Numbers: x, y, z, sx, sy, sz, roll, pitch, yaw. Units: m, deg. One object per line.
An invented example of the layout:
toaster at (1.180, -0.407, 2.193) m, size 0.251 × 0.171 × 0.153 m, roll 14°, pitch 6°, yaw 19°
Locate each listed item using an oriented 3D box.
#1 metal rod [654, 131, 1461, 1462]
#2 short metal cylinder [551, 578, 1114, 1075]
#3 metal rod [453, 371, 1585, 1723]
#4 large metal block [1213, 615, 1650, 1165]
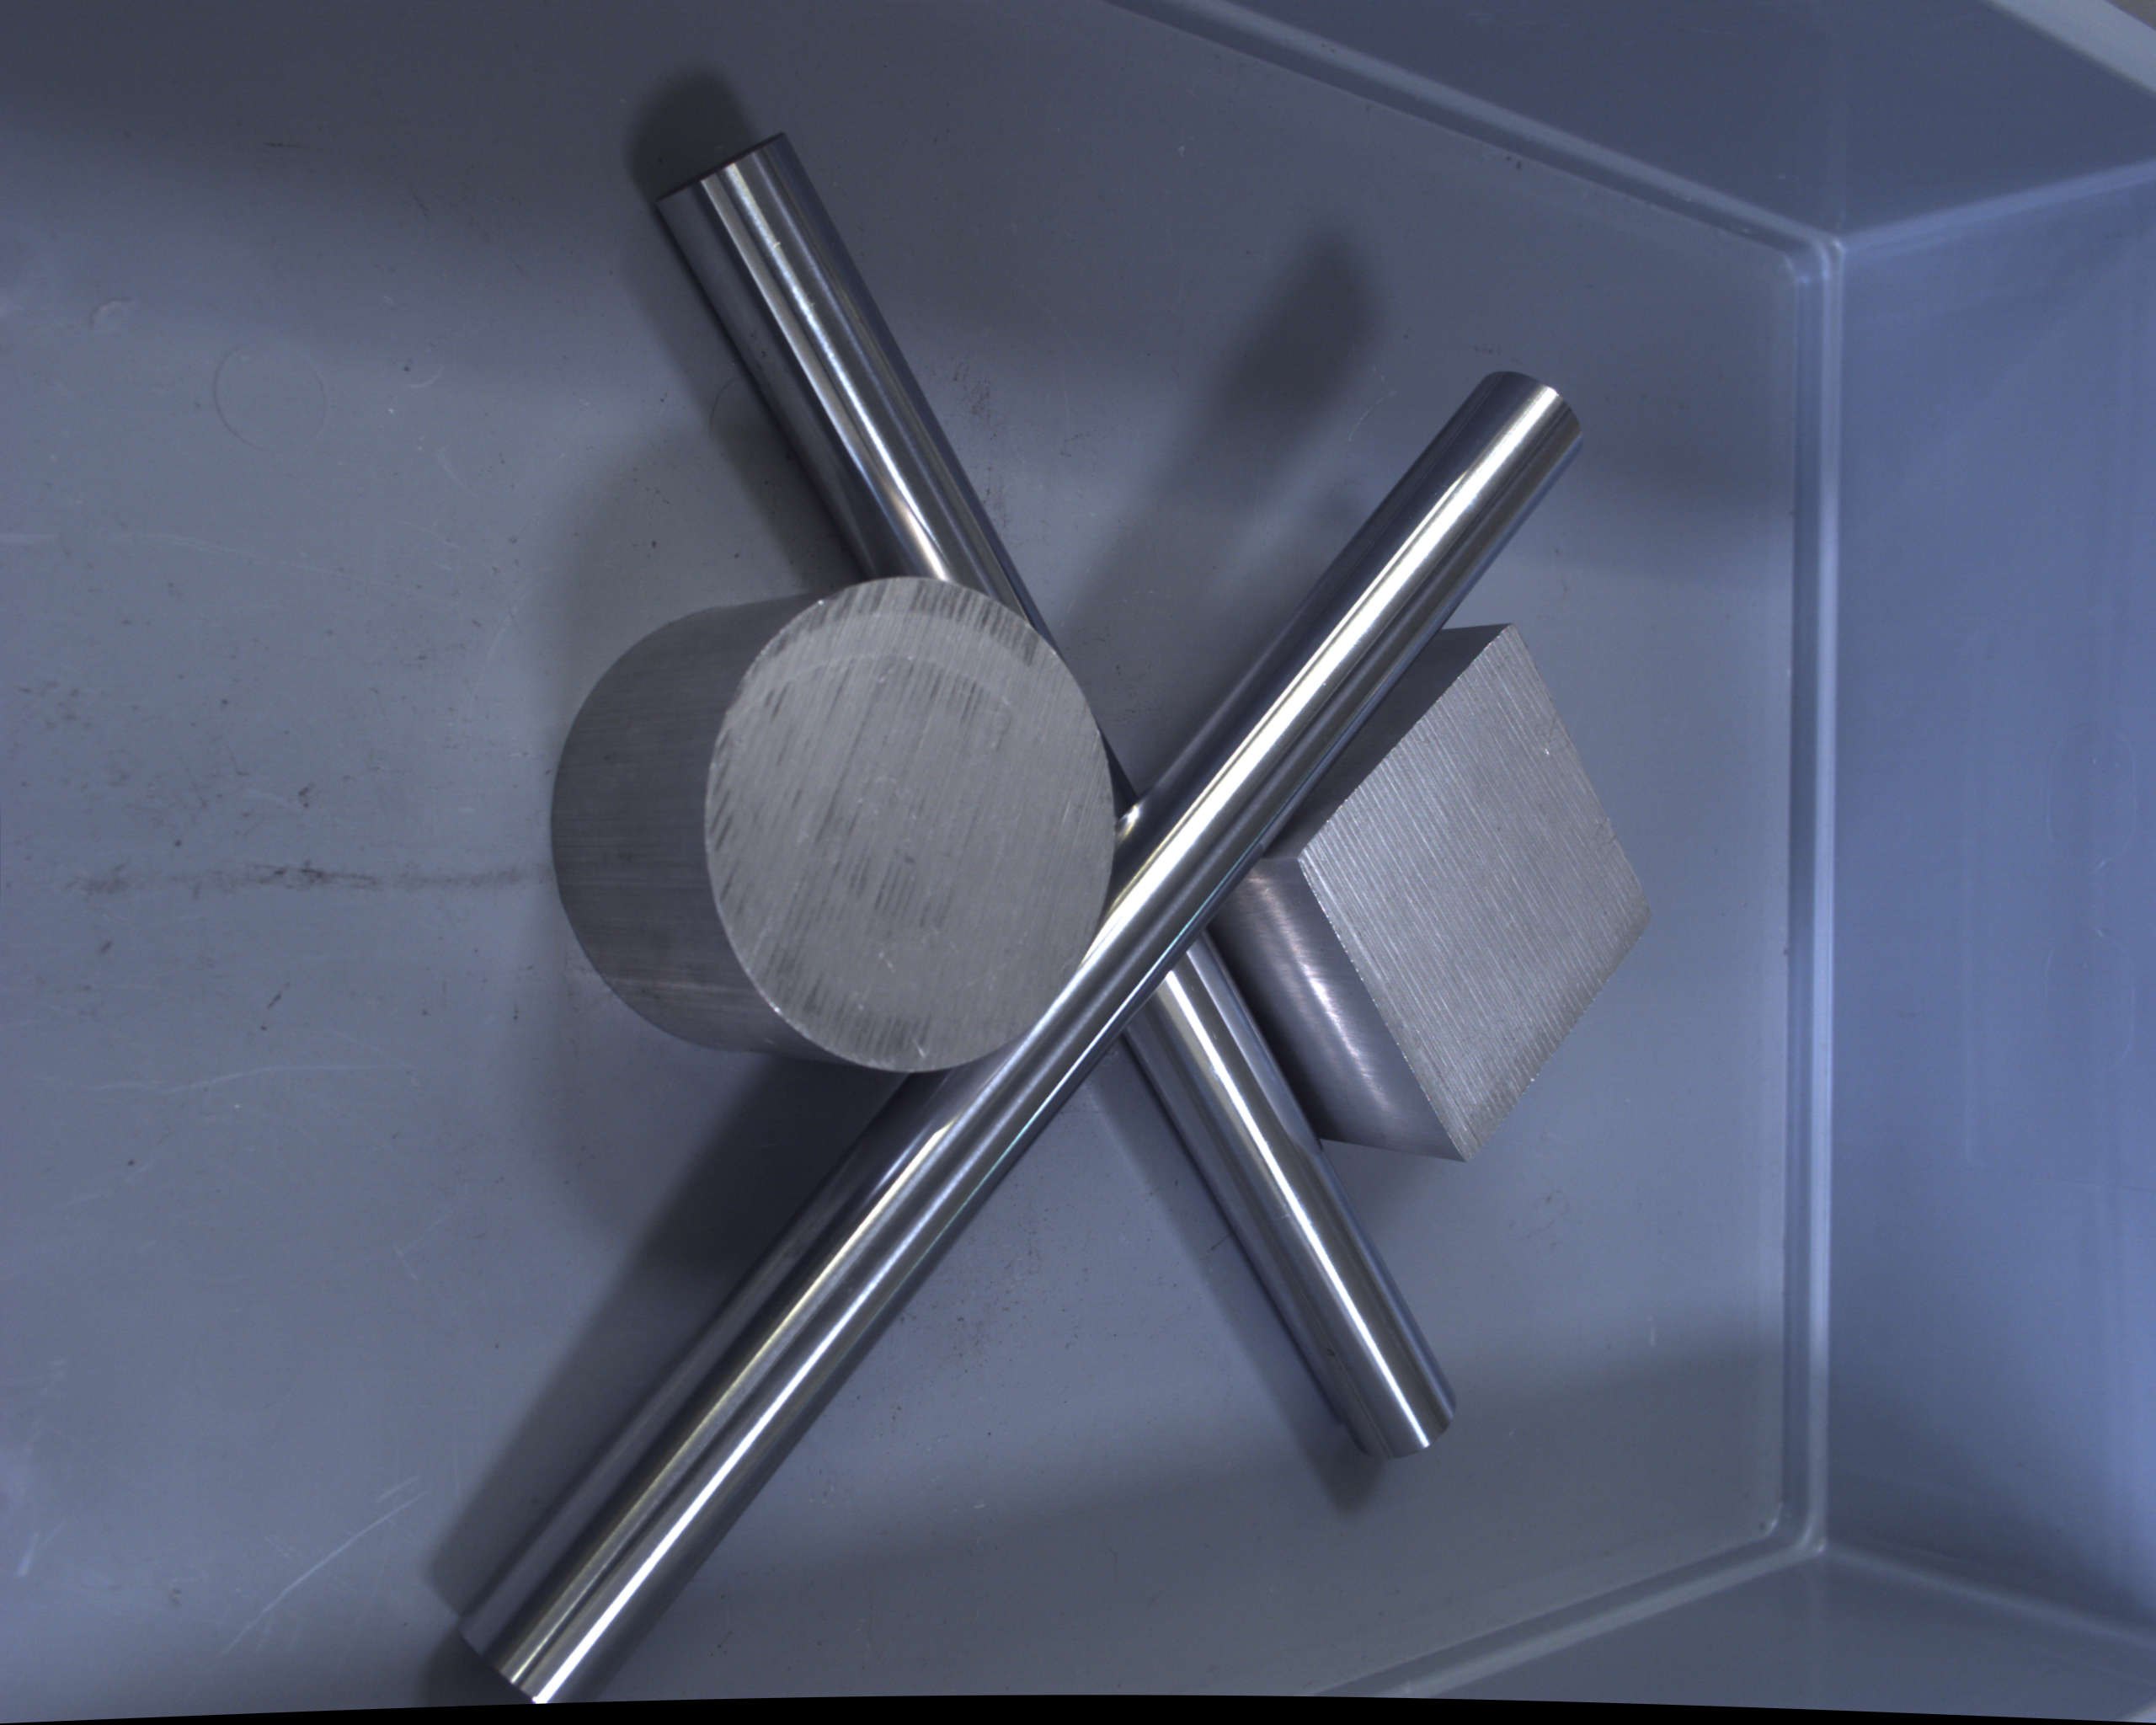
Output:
metal rod at (0.007, 0.003, 0.409) m, size 0.025 × 0.025 × 0.299 m, roll -43°, pitch 116°, yaw -31°
short metal cylinder at (-0.041, -0.006, 0.354) m, size 0.081 × 0.050 × 0.079 m, roll 0°, pitch 90°, yaw -40°
metal rod at (0.002, 0.019, 0.379) m, size 0.301 × 0.025 × 0.025 m, roll -50°, pitch 120°, yaw -18°
large metal block at (0.067, 0.005, 0.443) m, size 0.080 × 0.050 × 0.080 m, roll -46°, pitch 118°, yaw -30°
